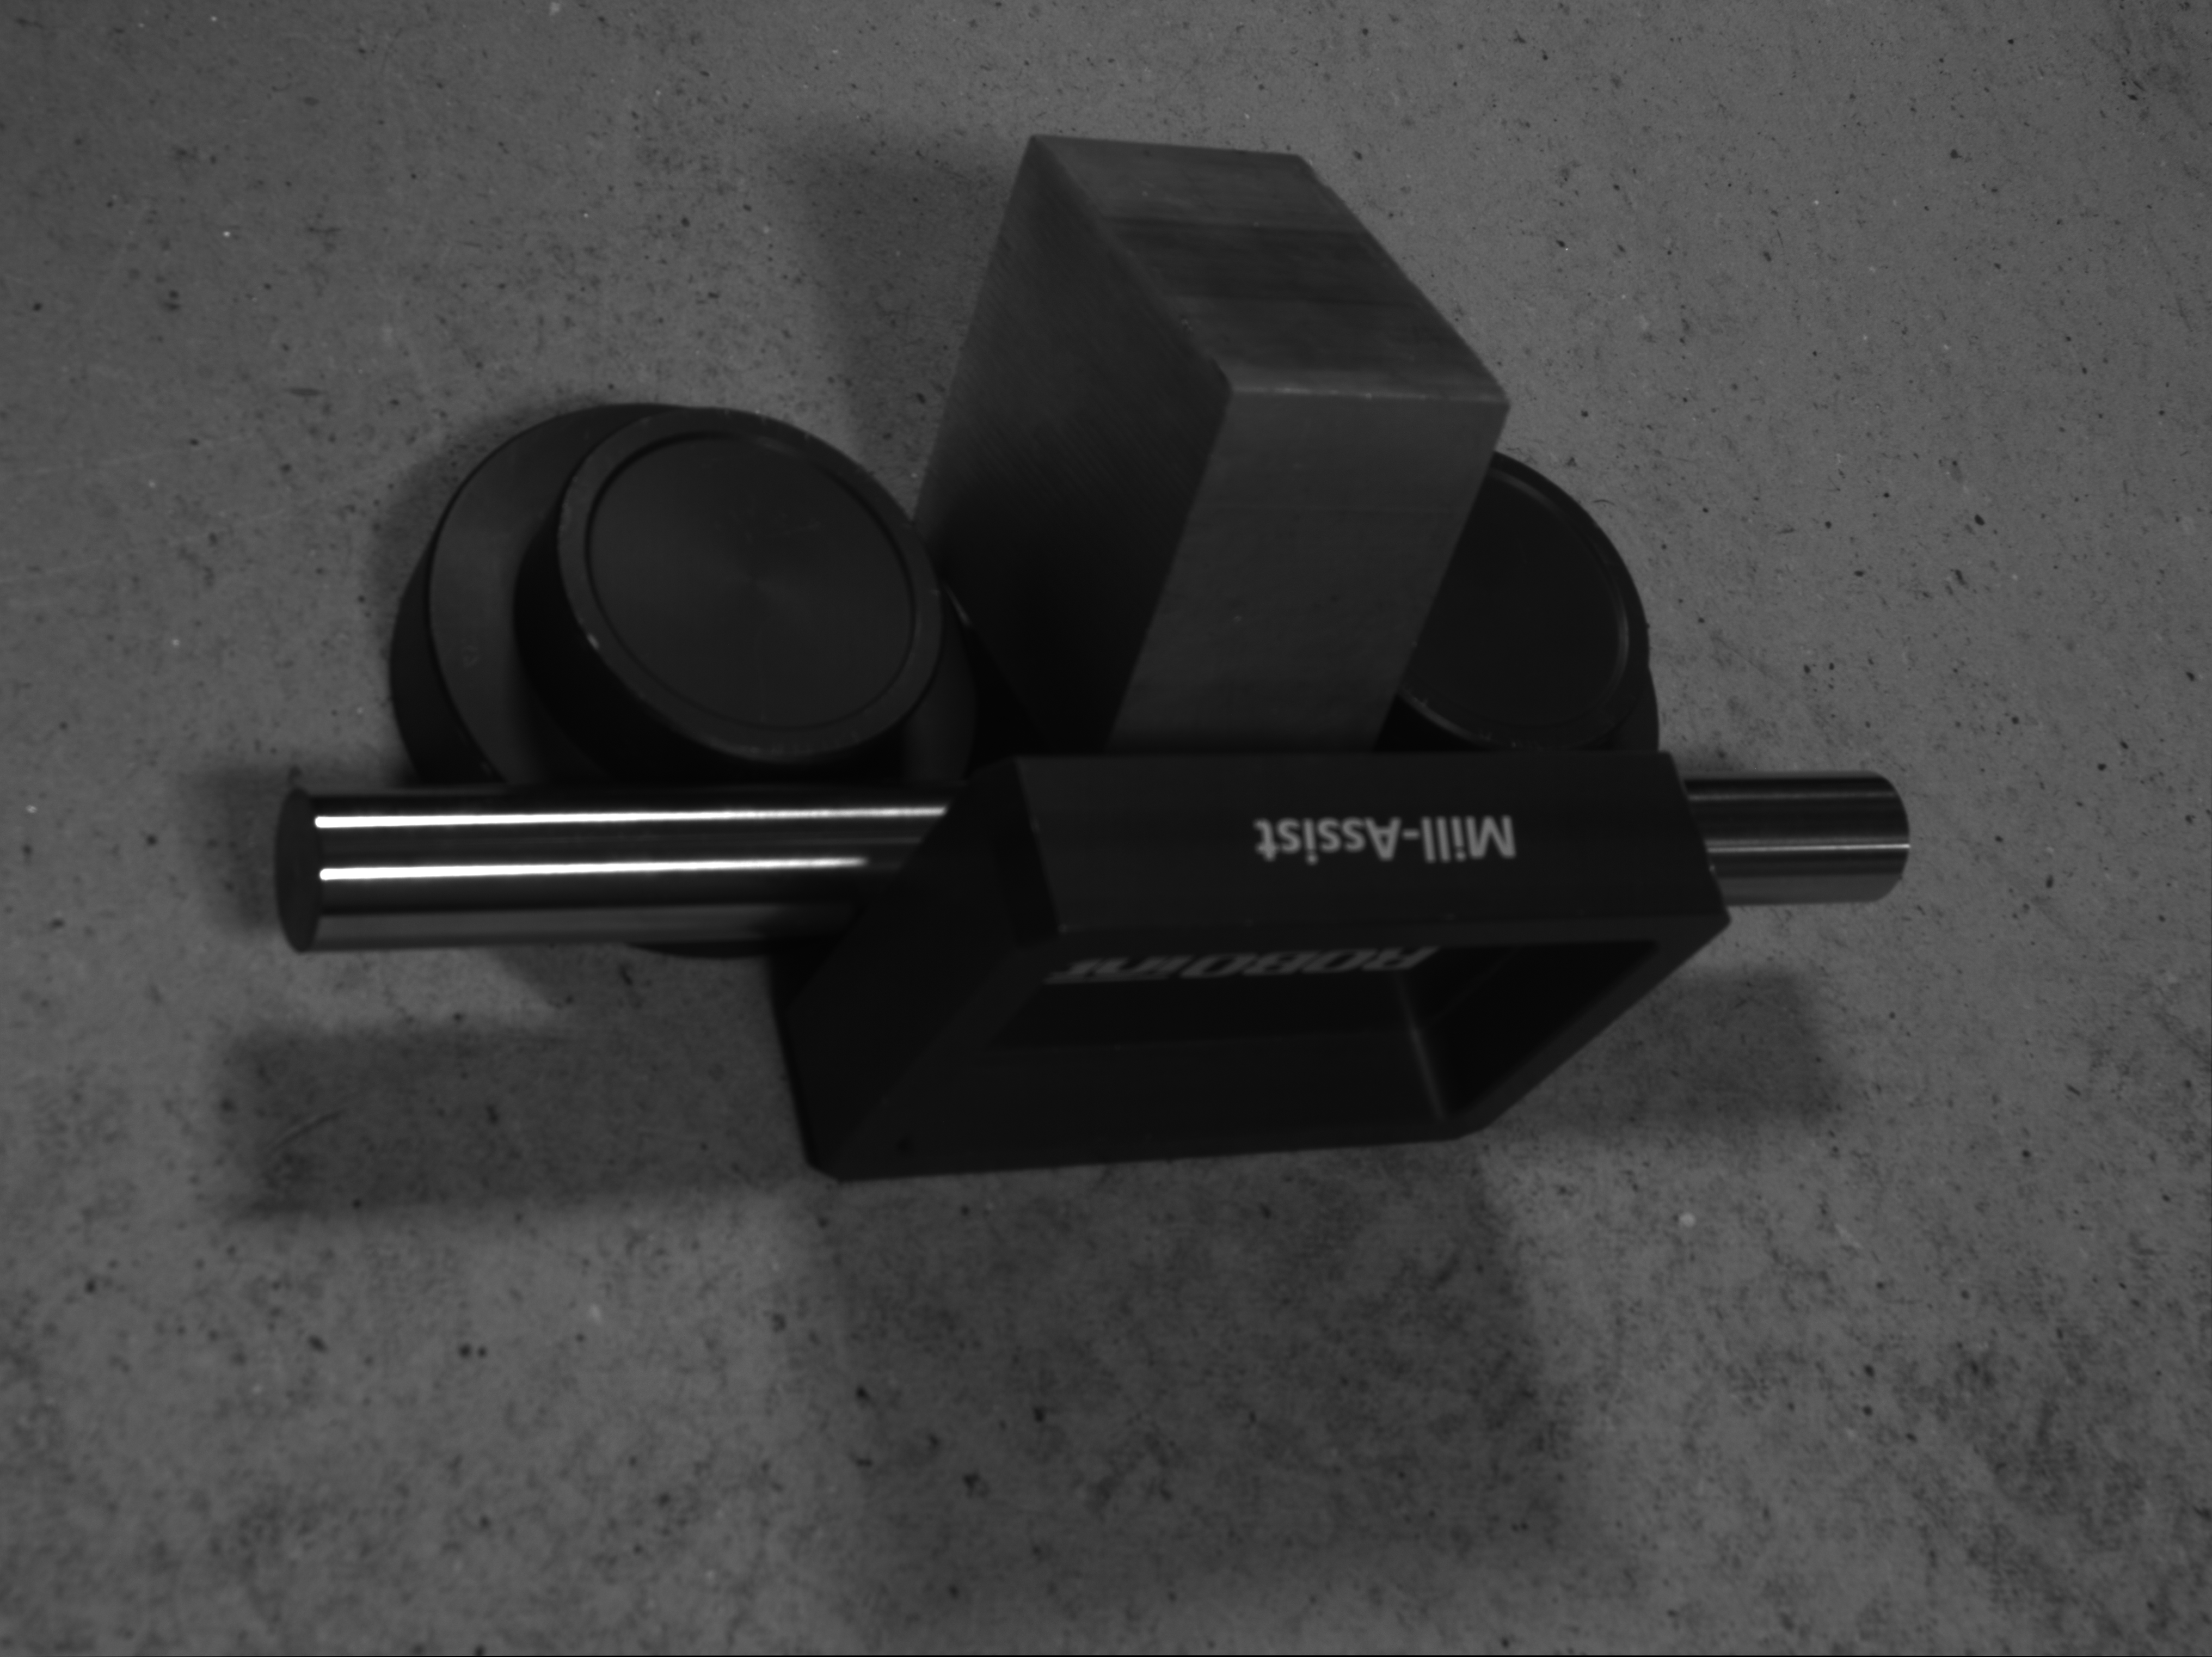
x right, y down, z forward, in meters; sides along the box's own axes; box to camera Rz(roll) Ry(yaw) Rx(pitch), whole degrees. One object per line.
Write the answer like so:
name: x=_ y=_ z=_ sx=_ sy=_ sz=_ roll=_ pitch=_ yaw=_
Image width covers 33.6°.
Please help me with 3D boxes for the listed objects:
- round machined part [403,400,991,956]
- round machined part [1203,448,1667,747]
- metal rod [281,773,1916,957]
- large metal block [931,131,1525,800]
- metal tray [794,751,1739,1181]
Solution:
round machined part: x=-0.064 y=-0.031 z=0.612 sx=0.098 sy=0.042 sz=0.098 roll=14 pitch=56 yaw=-21
round machined part: x=0.063 y=-0.034 z=0.683 sx=0.098 sy=0.042 sz=0.098 roll=14 pitch=56 yaw=-21
metal rod: x=0.012 y=0.004 z=0.618 sx=0.301 sy=0.025 sz=0.025 roll=-1 pitch=62 yaw=-29
large metal block: x=0.017 y=-0.061 z=0.616 sx=0.050 sy=0.080 sz=0.080 roll=-2 pitch=39 yaw=-29
metal tray: x=0.026 y=0.022 z=0.598 sx=0.130 sy=0.090 sz=0.030 roll=-1 pitch=62 yaw=-29
